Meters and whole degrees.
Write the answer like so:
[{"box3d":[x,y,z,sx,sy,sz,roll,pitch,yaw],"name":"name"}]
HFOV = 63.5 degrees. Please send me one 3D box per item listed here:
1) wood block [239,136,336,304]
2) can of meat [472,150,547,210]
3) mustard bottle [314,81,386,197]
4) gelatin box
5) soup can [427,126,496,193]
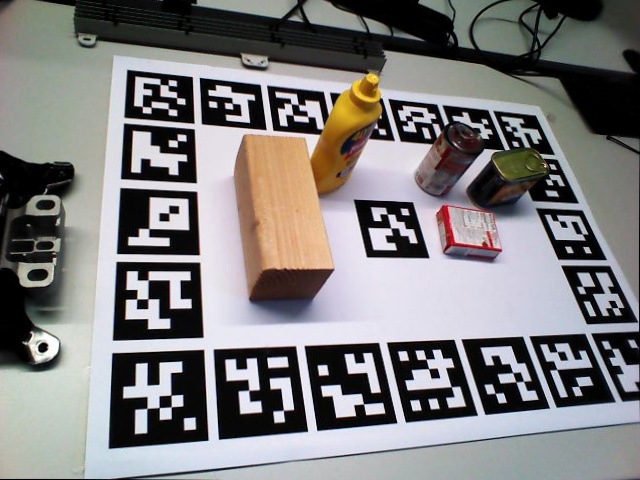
[{"box3d":[-0.049,-0.028,0.670,0.091,0.090,0.205,2,54,-19],"name":"wood block"},{"box3d":[0.308,-0.097,0.834,0.101,0.084,0.057,-11,64,-27],"name":"can of meat"},{"box3d":[0.042,-0.141,0.714,0.095,0.193,0.058,-24,68,-31],"name":"mustard bottle"},{"box3d":[0.243,-0.006,0.783,0.089,0.030,0.073,9,59,-10],"name":"gelatin box"},{"box3d":[0.217,-0.127,0.801,0.068,0.103,0.067,8,59,-13],"name":"soup can"}]
